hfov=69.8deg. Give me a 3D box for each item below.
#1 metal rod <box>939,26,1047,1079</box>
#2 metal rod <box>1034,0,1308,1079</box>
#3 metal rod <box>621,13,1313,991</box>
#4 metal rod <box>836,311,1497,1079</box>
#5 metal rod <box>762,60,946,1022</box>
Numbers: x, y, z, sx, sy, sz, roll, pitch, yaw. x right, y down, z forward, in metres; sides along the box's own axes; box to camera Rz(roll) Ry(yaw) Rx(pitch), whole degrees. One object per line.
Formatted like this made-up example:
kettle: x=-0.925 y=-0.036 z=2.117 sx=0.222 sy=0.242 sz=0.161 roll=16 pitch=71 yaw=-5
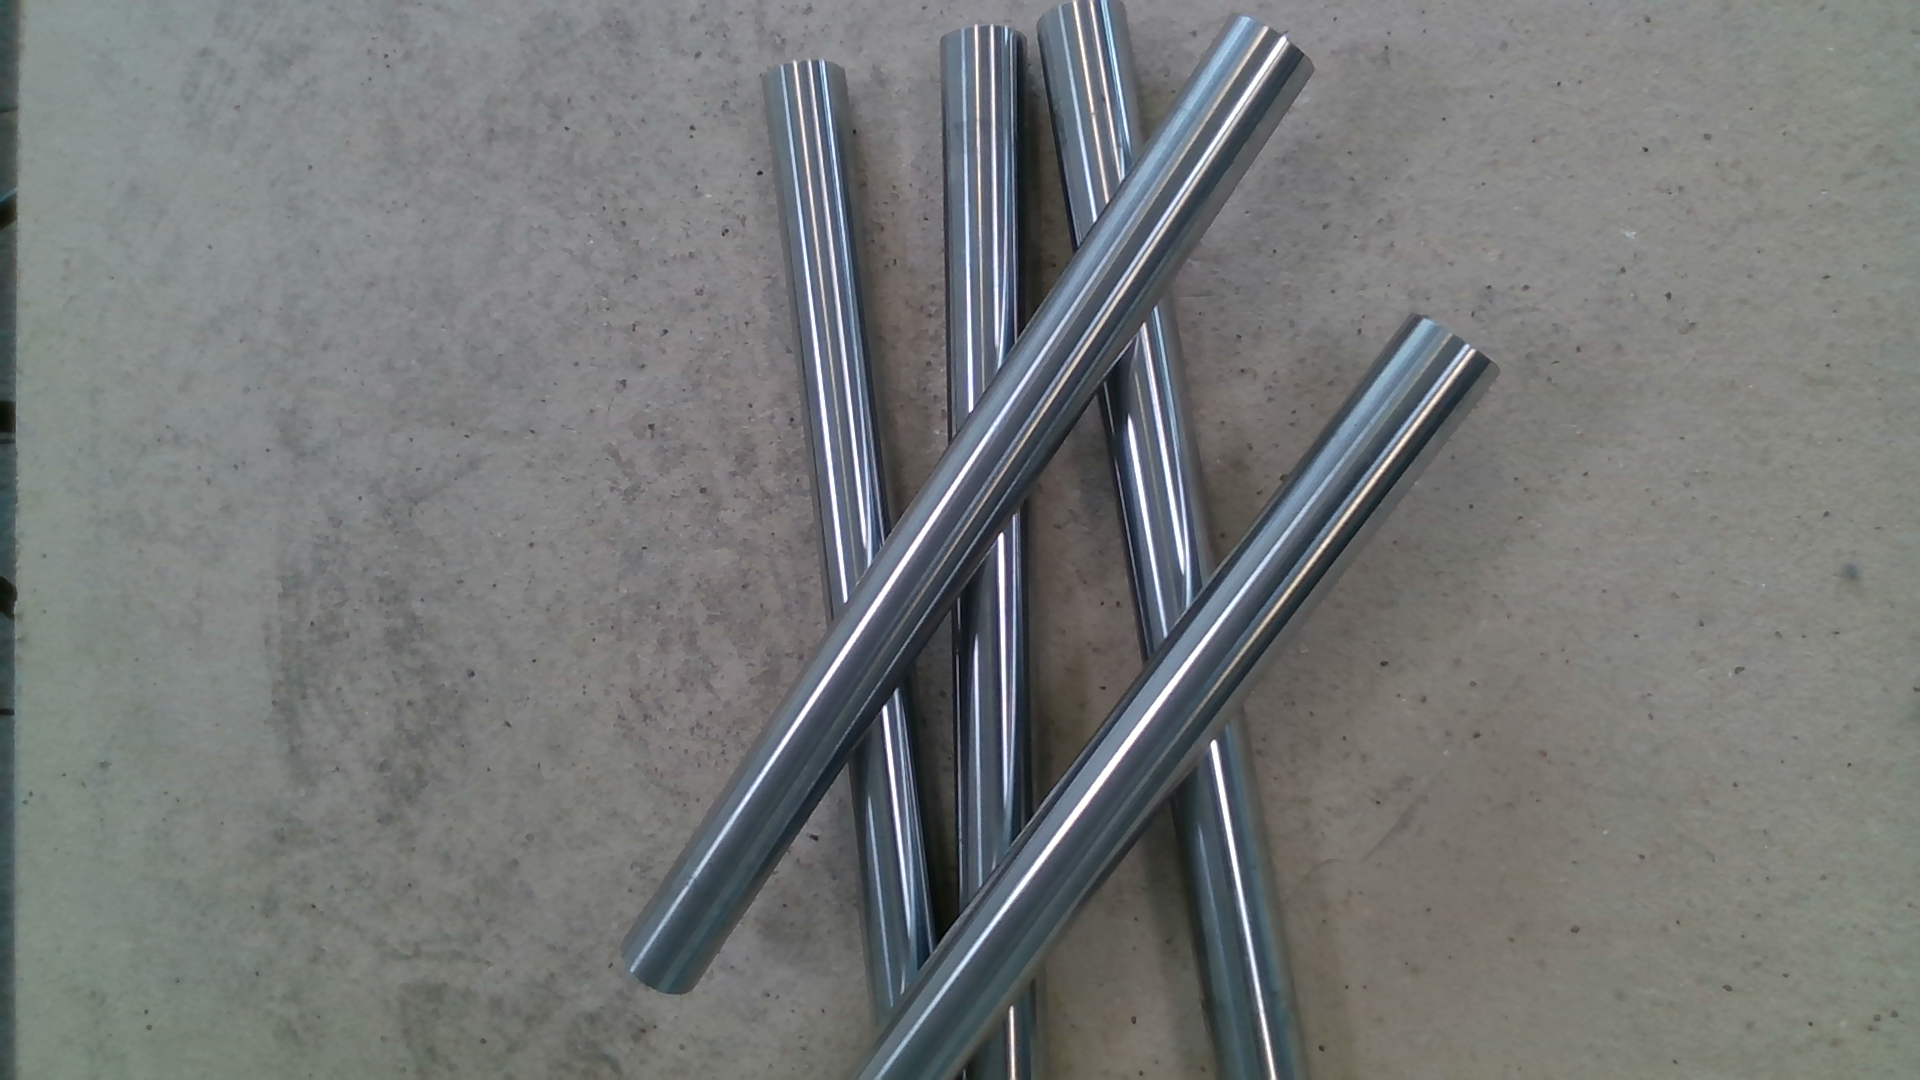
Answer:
metal rod: x=0.009 y=0.009 z=0.391 sx=0.025 sy=0.025 sz=0.300 roll=-1 pitch=90 yaw=20
metal rod: x=0.057 y=0.003 z=0.373 sx=0.025 sy=0.025 sz=0.300 roll=-10 pitch=87 yaw=20
metal rod: x=-0.005 y=0.000 z=0.370 sx=0.025 sy=0.025 sz=0.300 roll=37 pitch=102 yaw=16
metal rod: x=0.032 y=0.074 z=0.356 sx=0.025 sy=0.025 sz=0.300 roll=38 pitch=103 yaw=16
metal rod: x=-0.029 y=0.011 z=0.405 sx=0.025 sy=0.025 sz=0.300 roll=-8 pitch=88 yaw=20
